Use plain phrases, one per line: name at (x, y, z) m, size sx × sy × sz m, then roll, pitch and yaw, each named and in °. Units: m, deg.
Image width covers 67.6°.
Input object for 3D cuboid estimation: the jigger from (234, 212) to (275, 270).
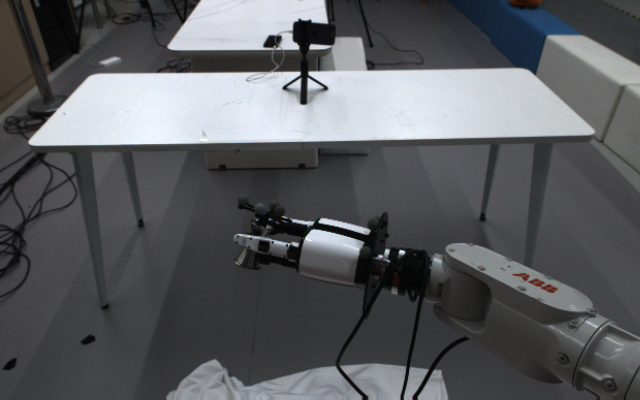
jigger at (-0.102, 0.067, 0.743) m, size 0.043 × 0.071 × 0.043 m, roll 21°, pitch 6°, yaw -2°
